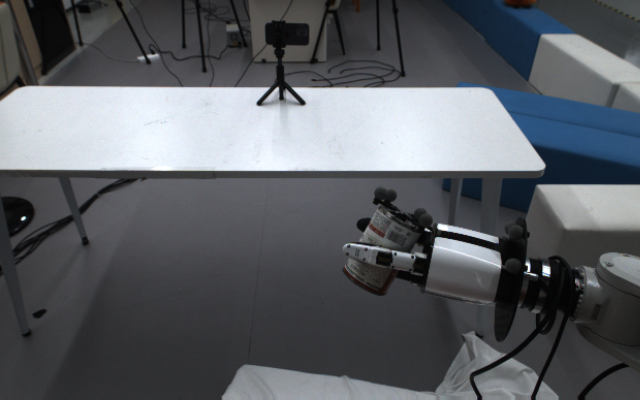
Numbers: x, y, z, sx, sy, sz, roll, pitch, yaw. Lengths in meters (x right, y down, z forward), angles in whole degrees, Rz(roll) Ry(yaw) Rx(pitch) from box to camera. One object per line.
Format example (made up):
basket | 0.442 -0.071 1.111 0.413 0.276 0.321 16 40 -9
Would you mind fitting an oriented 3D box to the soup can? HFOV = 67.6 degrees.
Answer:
soup can | 0.085 0.066 0.646 0.067 0.101 0.067 27 10 -5
